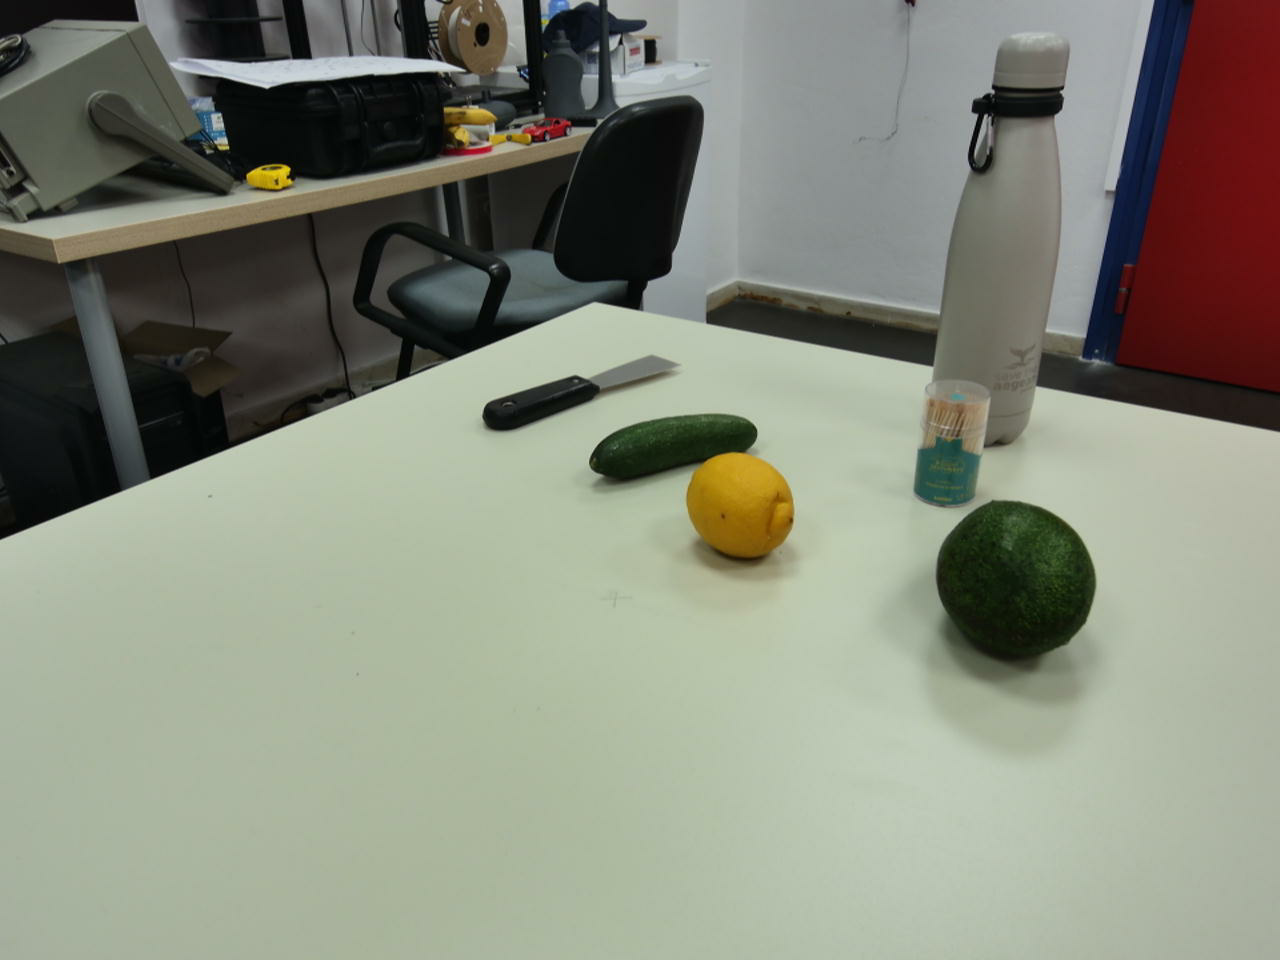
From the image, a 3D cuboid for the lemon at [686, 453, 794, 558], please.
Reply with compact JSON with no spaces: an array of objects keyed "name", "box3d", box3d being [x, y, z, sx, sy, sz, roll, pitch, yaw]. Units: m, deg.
[{"name":"lemon","box3d":[0.059,0.016,0.591,0.061,0.059,0.067,-5,25,-11]}]
